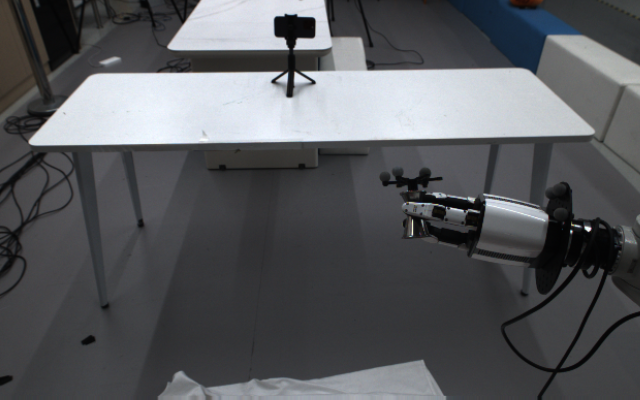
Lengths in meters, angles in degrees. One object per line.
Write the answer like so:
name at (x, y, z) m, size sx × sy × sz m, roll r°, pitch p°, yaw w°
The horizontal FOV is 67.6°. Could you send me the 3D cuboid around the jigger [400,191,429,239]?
jigger at (0.140, 0.020, 0.716) m, size 0.043 × 0.071 × 0.043 m, roll -2°, pitch -7°, yaw 0°
